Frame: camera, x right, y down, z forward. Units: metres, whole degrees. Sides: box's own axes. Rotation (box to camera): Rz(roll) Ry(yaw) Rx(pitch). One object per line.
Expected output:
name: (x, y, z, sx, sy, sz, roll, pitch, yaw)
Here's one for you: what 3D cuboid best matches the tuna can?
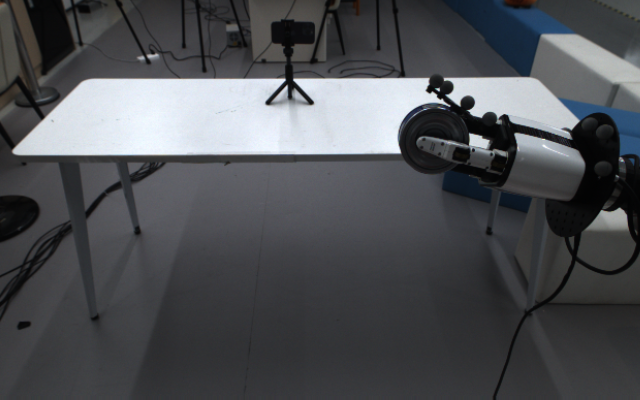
tuna can: (0.145, -0.071, 0.604, 0.085, 0.085, 0.034, 7, 19, 7)
